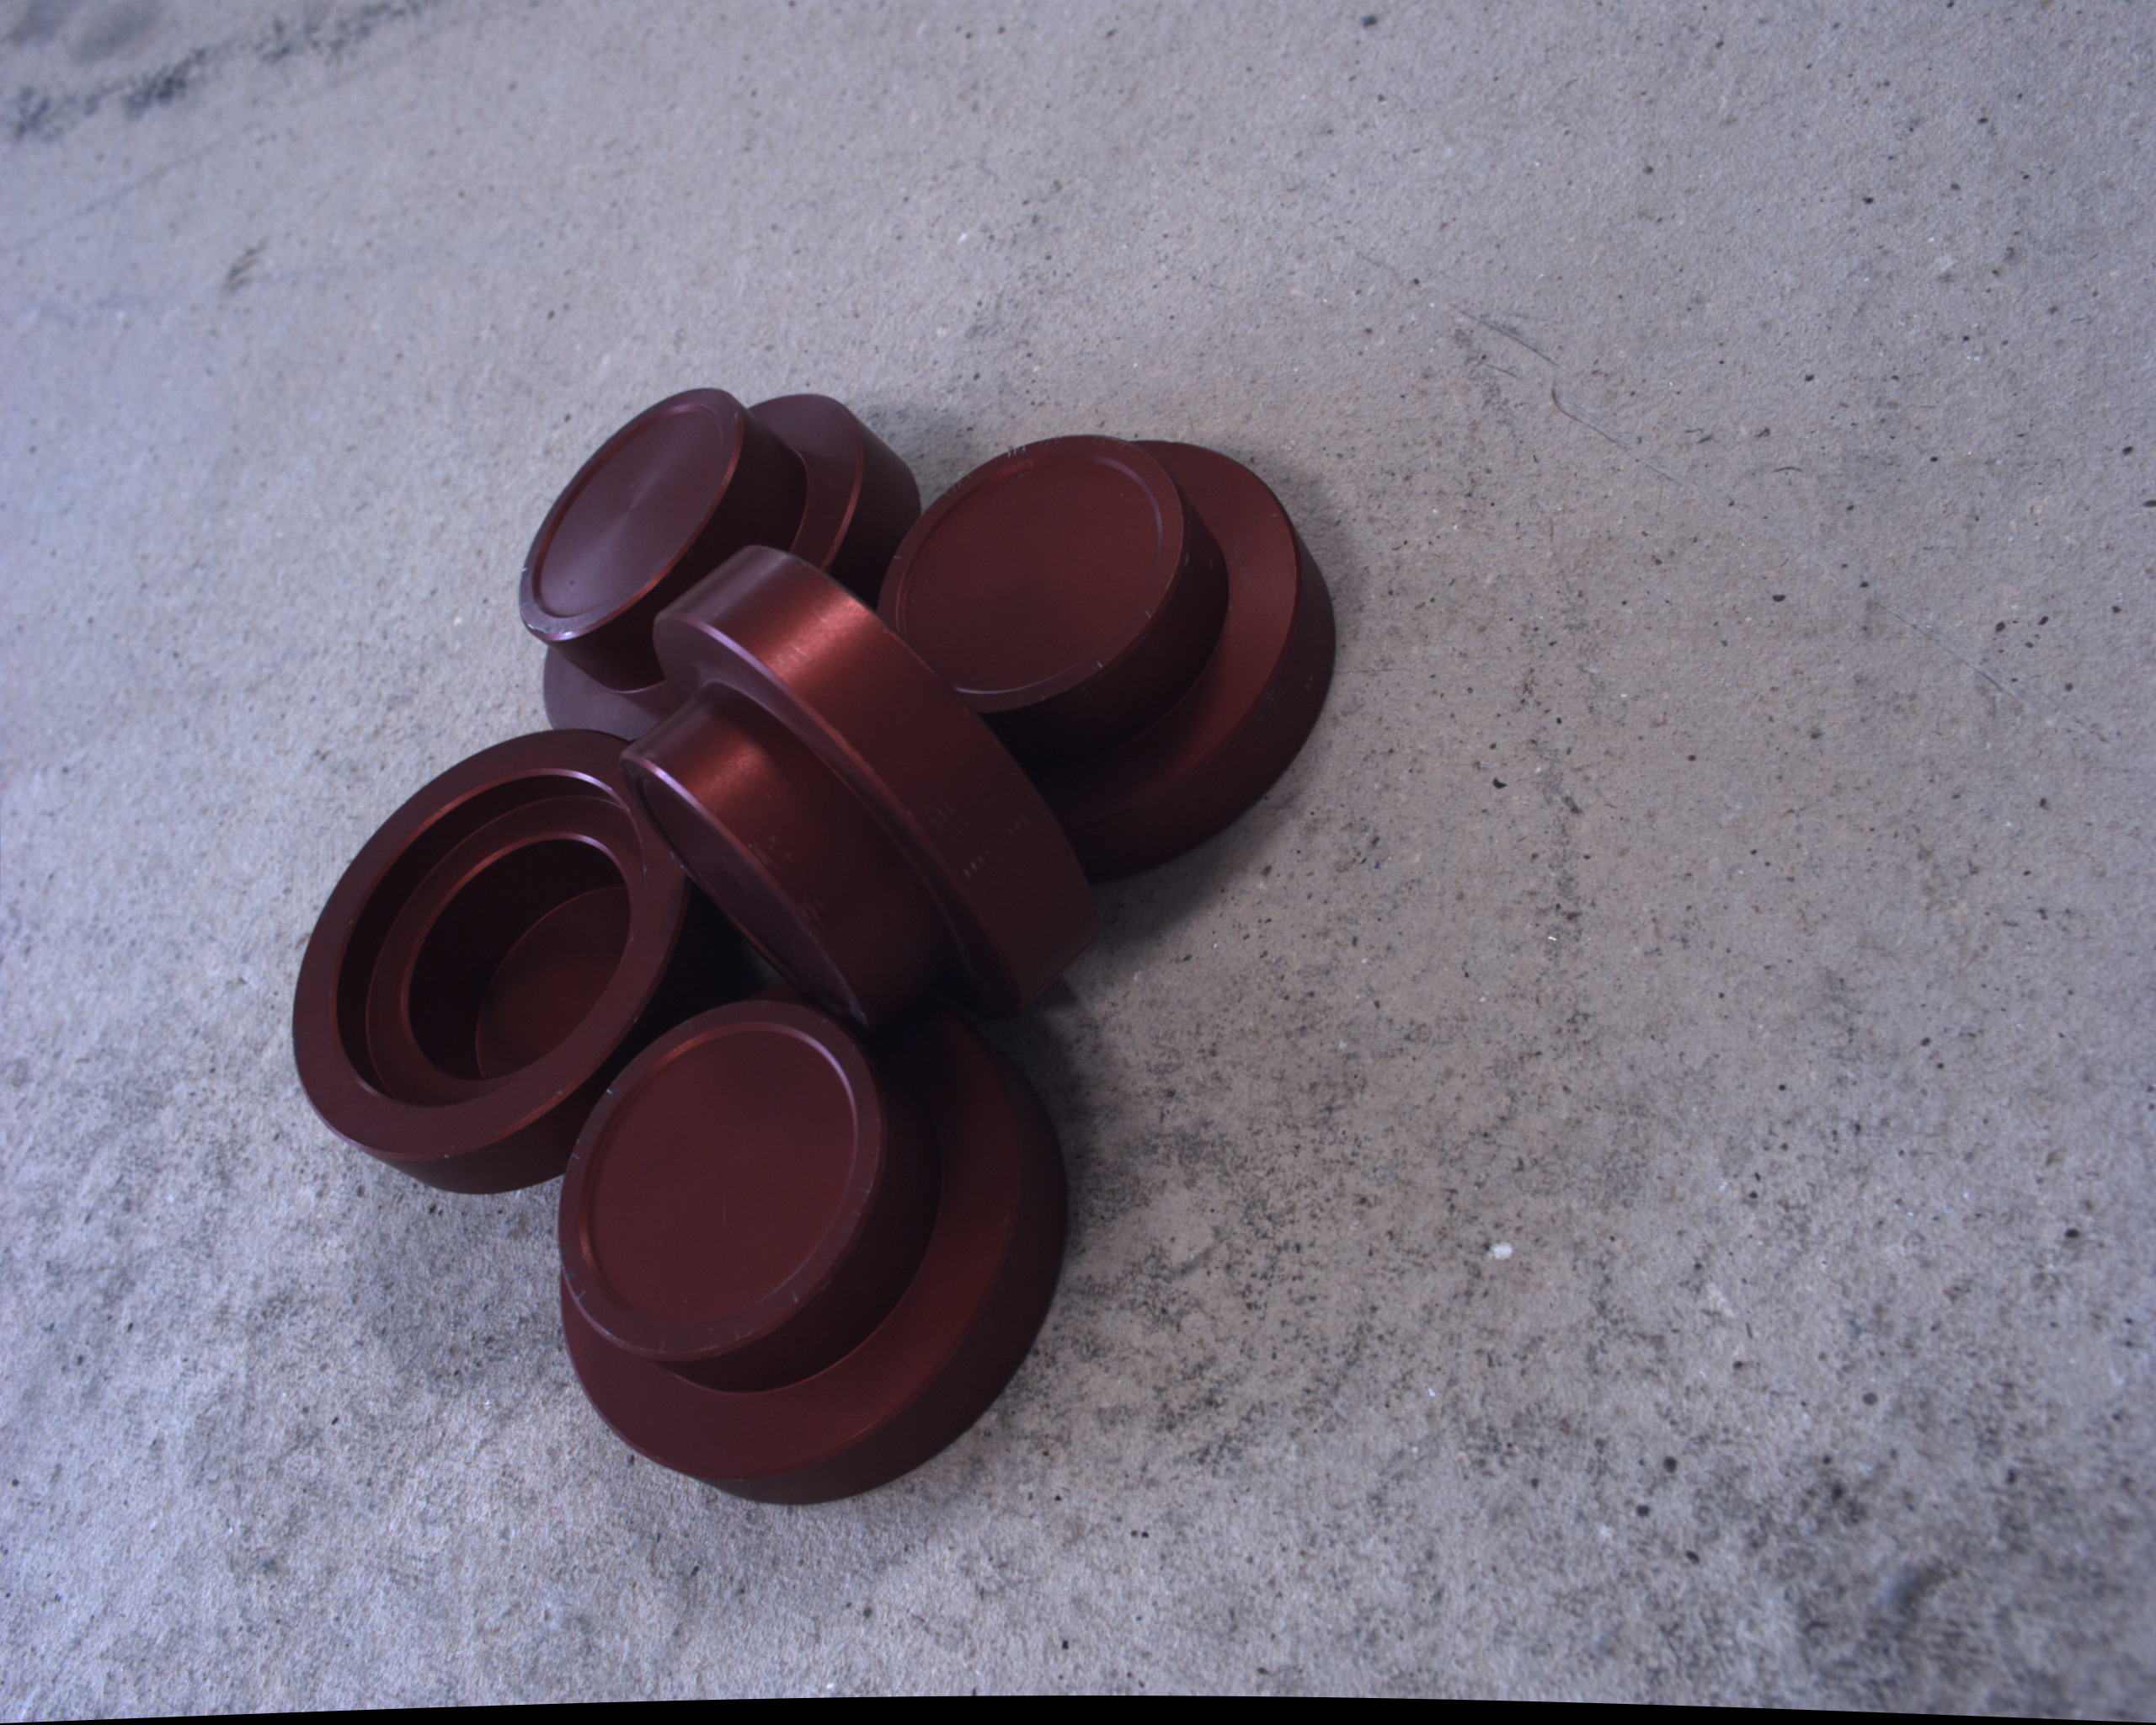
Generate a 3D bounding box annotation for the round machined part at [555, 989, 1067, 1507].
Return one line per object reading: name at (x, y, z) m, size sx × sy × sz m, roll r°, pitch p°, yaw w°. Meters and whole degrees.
round machined part at (-0.055, 0.064, 0.384) m, size 0.098 × 0.042 × 0.098 m, roll -13°, pitch 55°, yaw 19°

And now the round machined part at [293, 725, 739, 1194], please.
round machined part at (-0.112, 0.023, 0.439) m, size 0.098 × 0.042 × 0.098 m, roll -13°, pitch 58°, yaw 21°

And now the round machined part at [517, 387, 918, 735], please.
round machined part at (-0.086, -0.067, 0.468) m, size 0.098 × 0.042 × 0.098 m, roll -24°, pitch 46°, yaw 28°

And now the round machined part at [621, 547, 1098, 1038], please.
round machined part at (-0.045, -0.006, 0.383) m, size 0.042 × 0.098 × 0.098 m, roll -42°, pitch 50°, yaw -18°

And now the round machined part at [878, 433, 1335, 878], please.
round machined part at (-0.001, -0.048, 0.424) m, size 0.098 × 0.042 × 0.098 m, roll -13°, pitch 55°, yaw 20°
